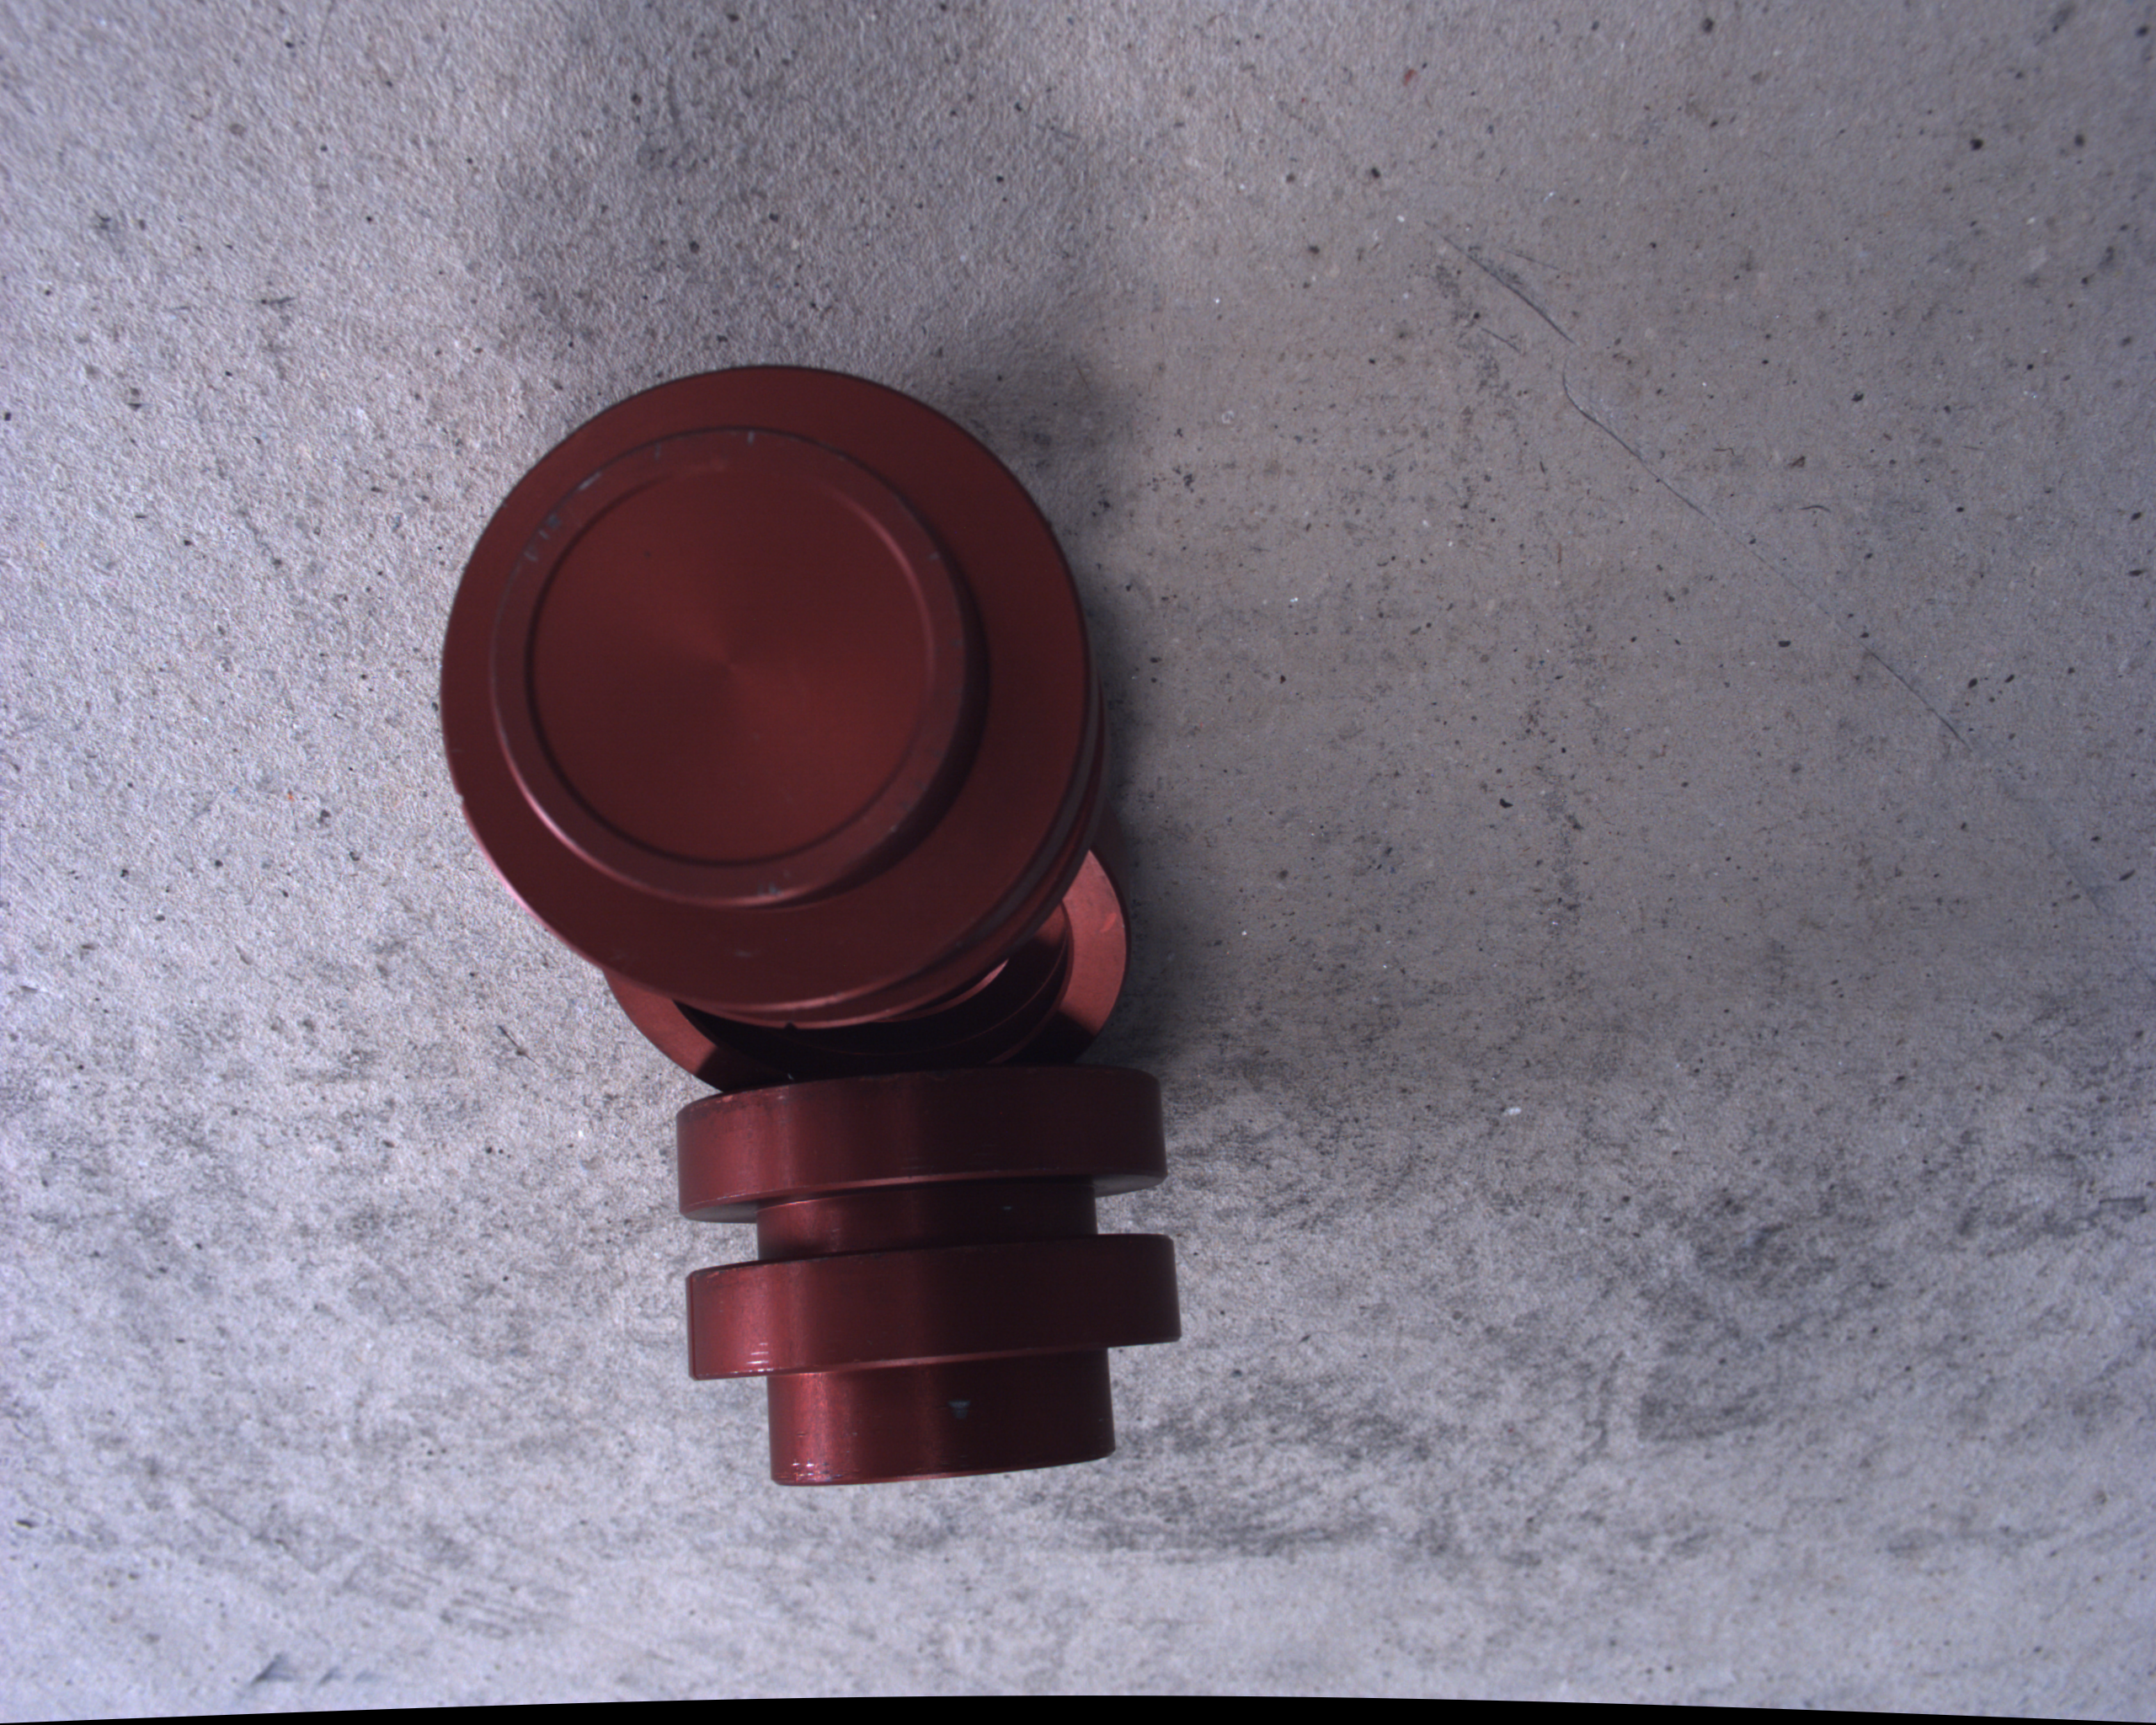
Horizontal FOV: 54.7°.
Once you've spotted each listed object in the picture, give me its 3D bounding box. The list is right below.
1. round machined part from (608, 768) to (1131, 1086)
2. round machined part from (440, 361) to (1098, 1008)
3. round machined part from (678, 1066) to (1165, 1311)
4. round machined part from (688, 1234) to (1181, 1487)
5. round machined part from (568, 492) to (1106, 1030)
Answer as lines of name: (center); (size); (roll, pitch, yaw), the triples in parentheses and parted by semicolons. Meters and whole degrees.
round machined part: (-0.040, 0.002, 0.400); (0.099, 0.042, 0.097); (0, 130, 0)
round machined part: (-0.047, -0.027, 0.311); (0.099, 0.042, 0.097); (0, 87, 4)
round machined part: (-0.031, 0.069, 0.423); (0.099, 0.042, 0.098); (-4, 167, -1)
round machined part: (-0.028, 0.101, 0.420); (0.099, 0.042, 0.098); (-4, 166, -1)
round machined part: (-0.045, -0.021, 0.343); (0.099, 0.042, 0.097); (0, 87, 3)
